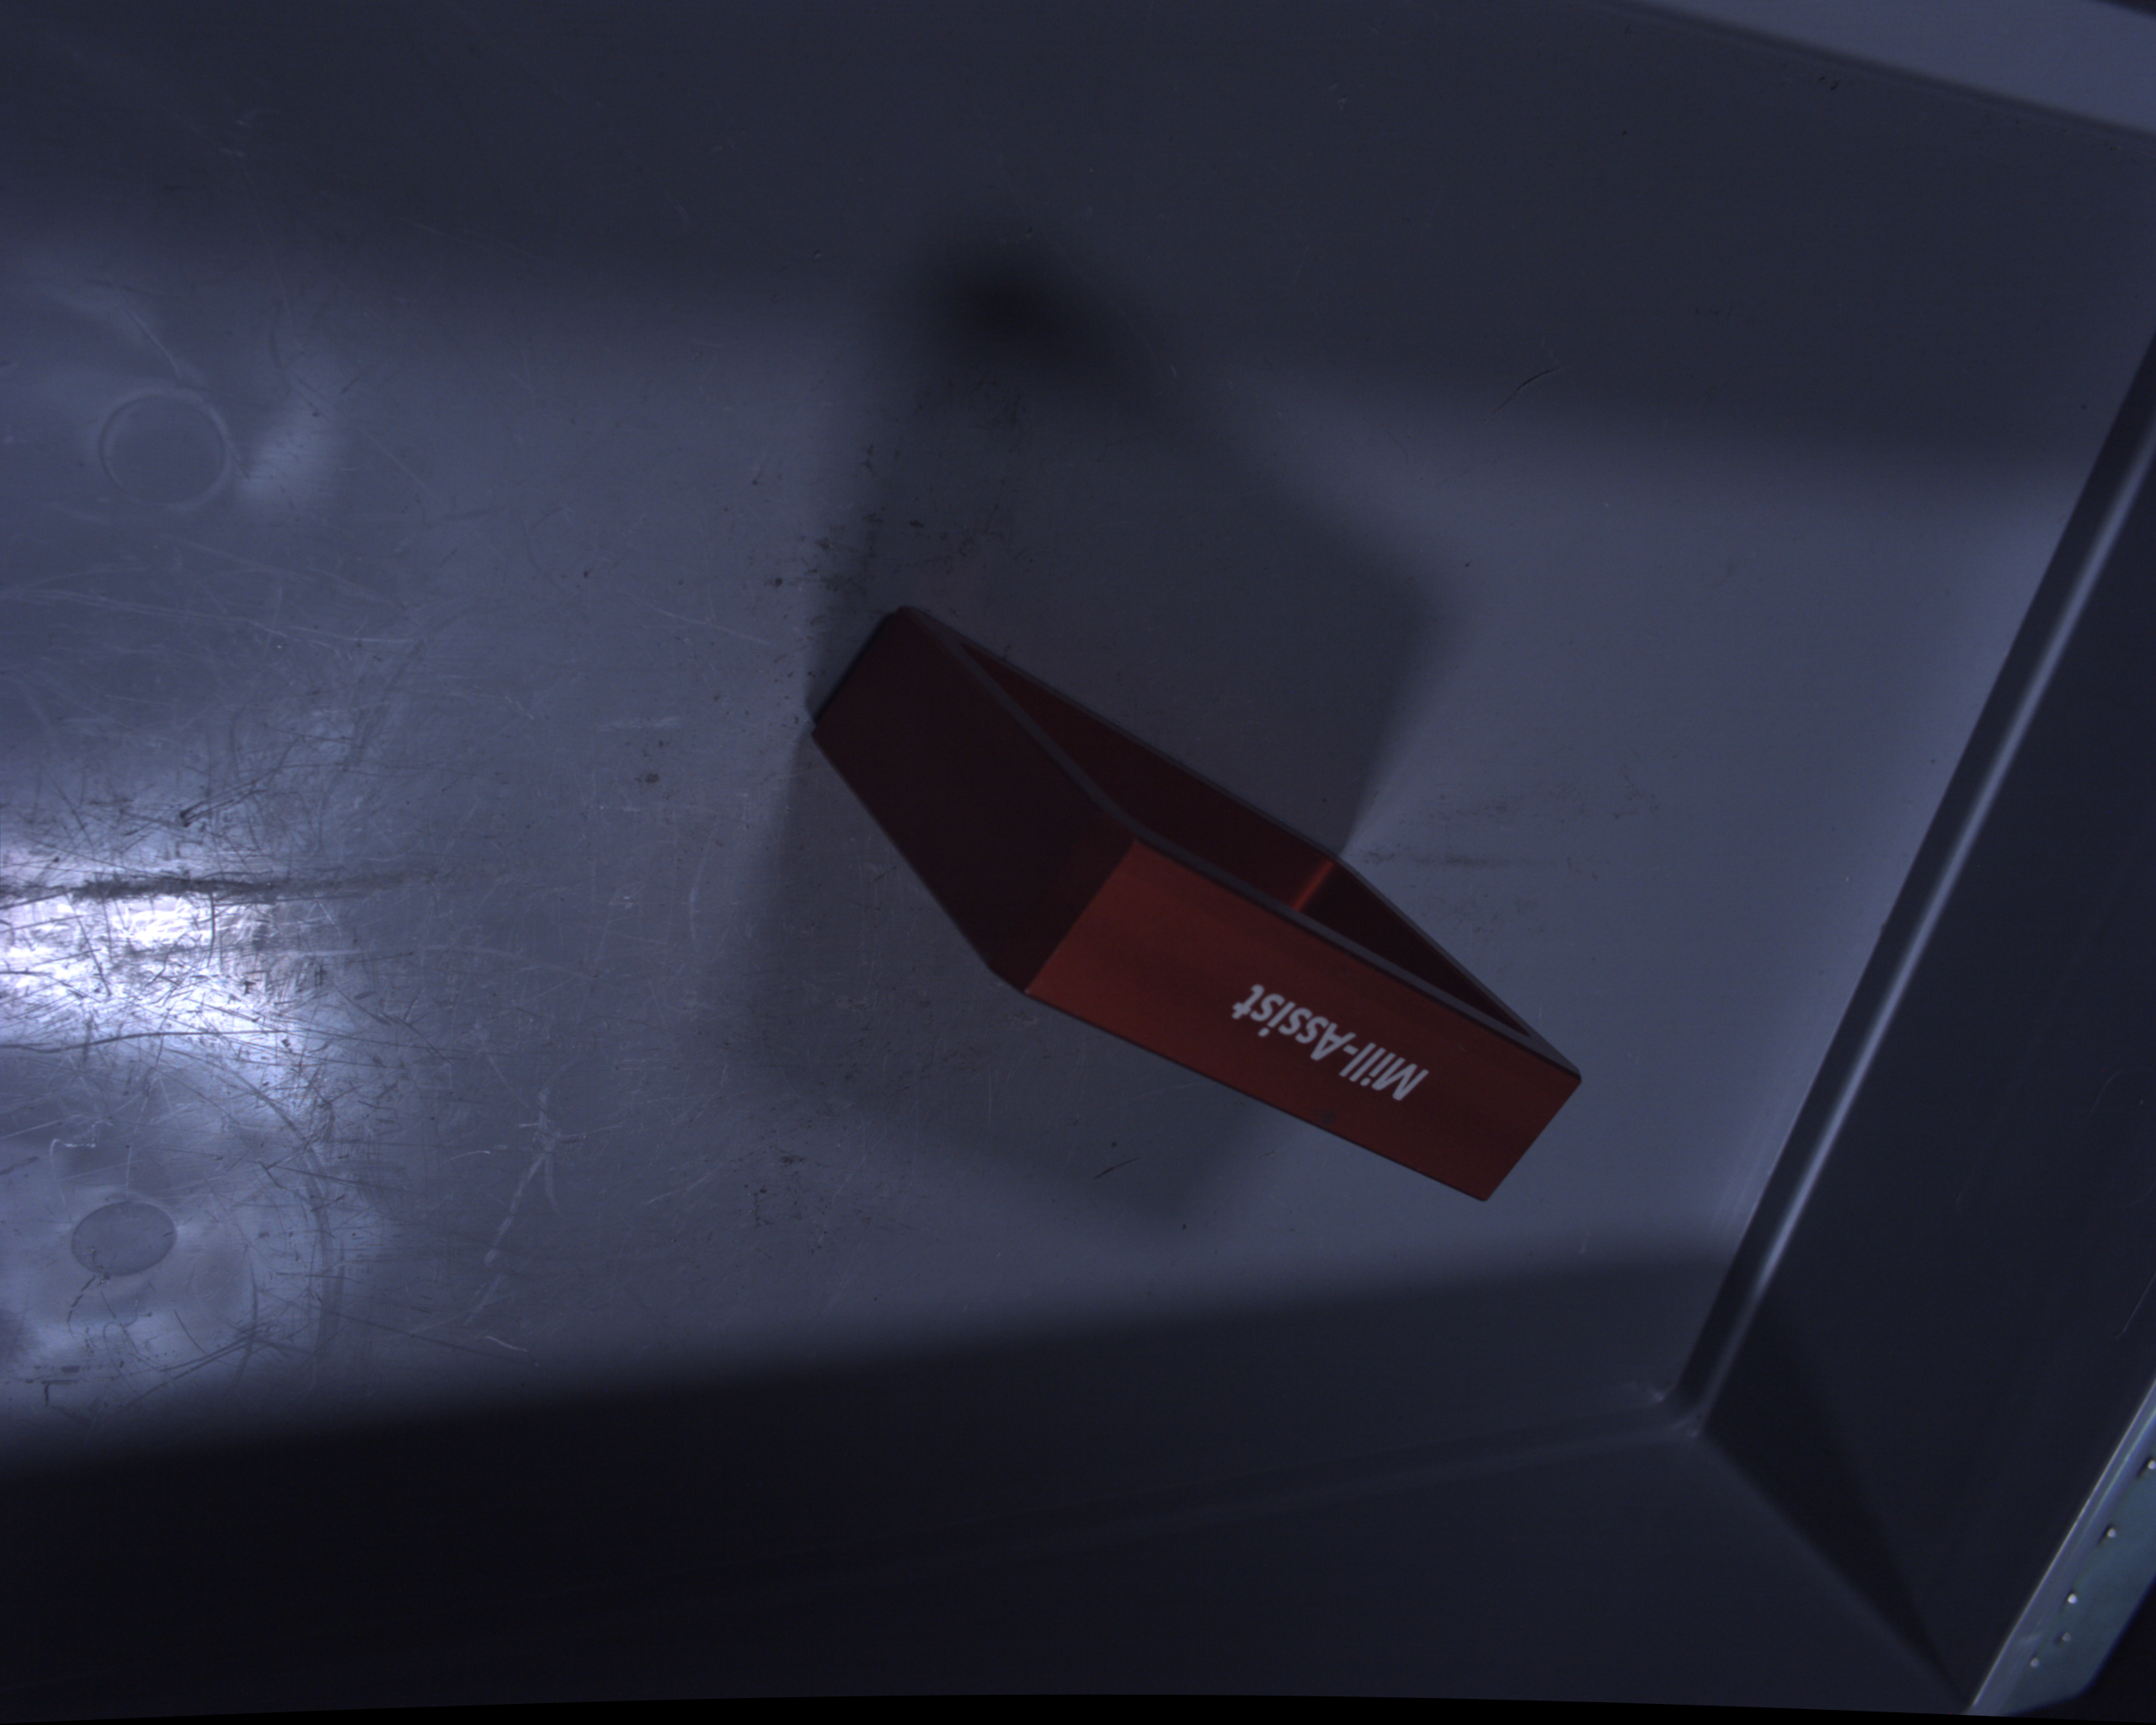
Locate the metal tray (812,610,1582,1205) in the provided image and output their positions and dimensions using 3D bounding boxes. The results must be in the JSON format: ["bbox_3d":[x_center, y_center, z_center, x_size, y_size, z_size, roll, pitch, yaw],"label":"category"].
[{"bbox_3d":[0.023,0.009,0.382,0.131,0.090,0.030,27,103,-38],"label":"metal tray"}]
